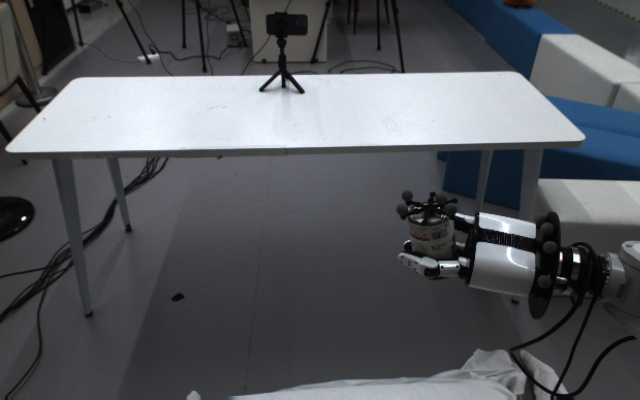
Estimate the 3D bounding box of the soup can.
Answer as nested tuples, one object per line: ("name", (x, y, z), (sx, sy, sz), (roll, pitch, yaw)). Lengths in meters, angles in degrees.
("soup can", (0.173, 0.059, 0.730), (0.067, 0.101, 0.067), (-11, 28, 6))
